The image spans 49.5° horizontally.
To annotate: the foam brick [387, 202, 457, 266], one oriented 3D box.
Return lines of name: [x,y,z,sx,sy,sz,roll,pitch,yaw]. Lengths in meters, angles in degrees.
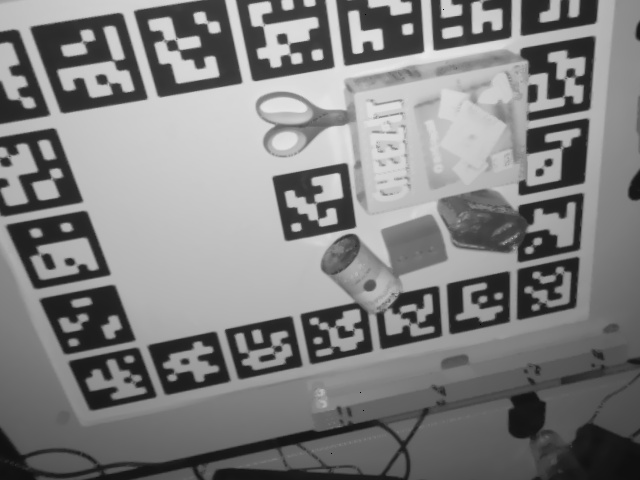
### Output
foam brick: [0.136,-0.009,0.937,0.078,0.051,0.052,-18,118,1]

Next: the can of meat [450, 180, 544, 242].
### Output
can of meat: [0.229,-0.043,0.912,0.102,0.084,0.057,3,116,-10]

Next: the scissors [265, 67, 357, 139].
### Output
scissors: [0.039,-0.180,0.840,0.203,0.016,0.087,-14,117,-2]

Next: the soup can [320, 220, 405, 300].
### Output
soup can: [0.059,0.029,0.942,0.067,0.068,0.102,-43,120,14]

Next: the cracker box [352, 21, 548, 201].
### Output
cracker box: [0.161,-0.154,0.837,0.214,0.072,0.163,-16,119,-5]
